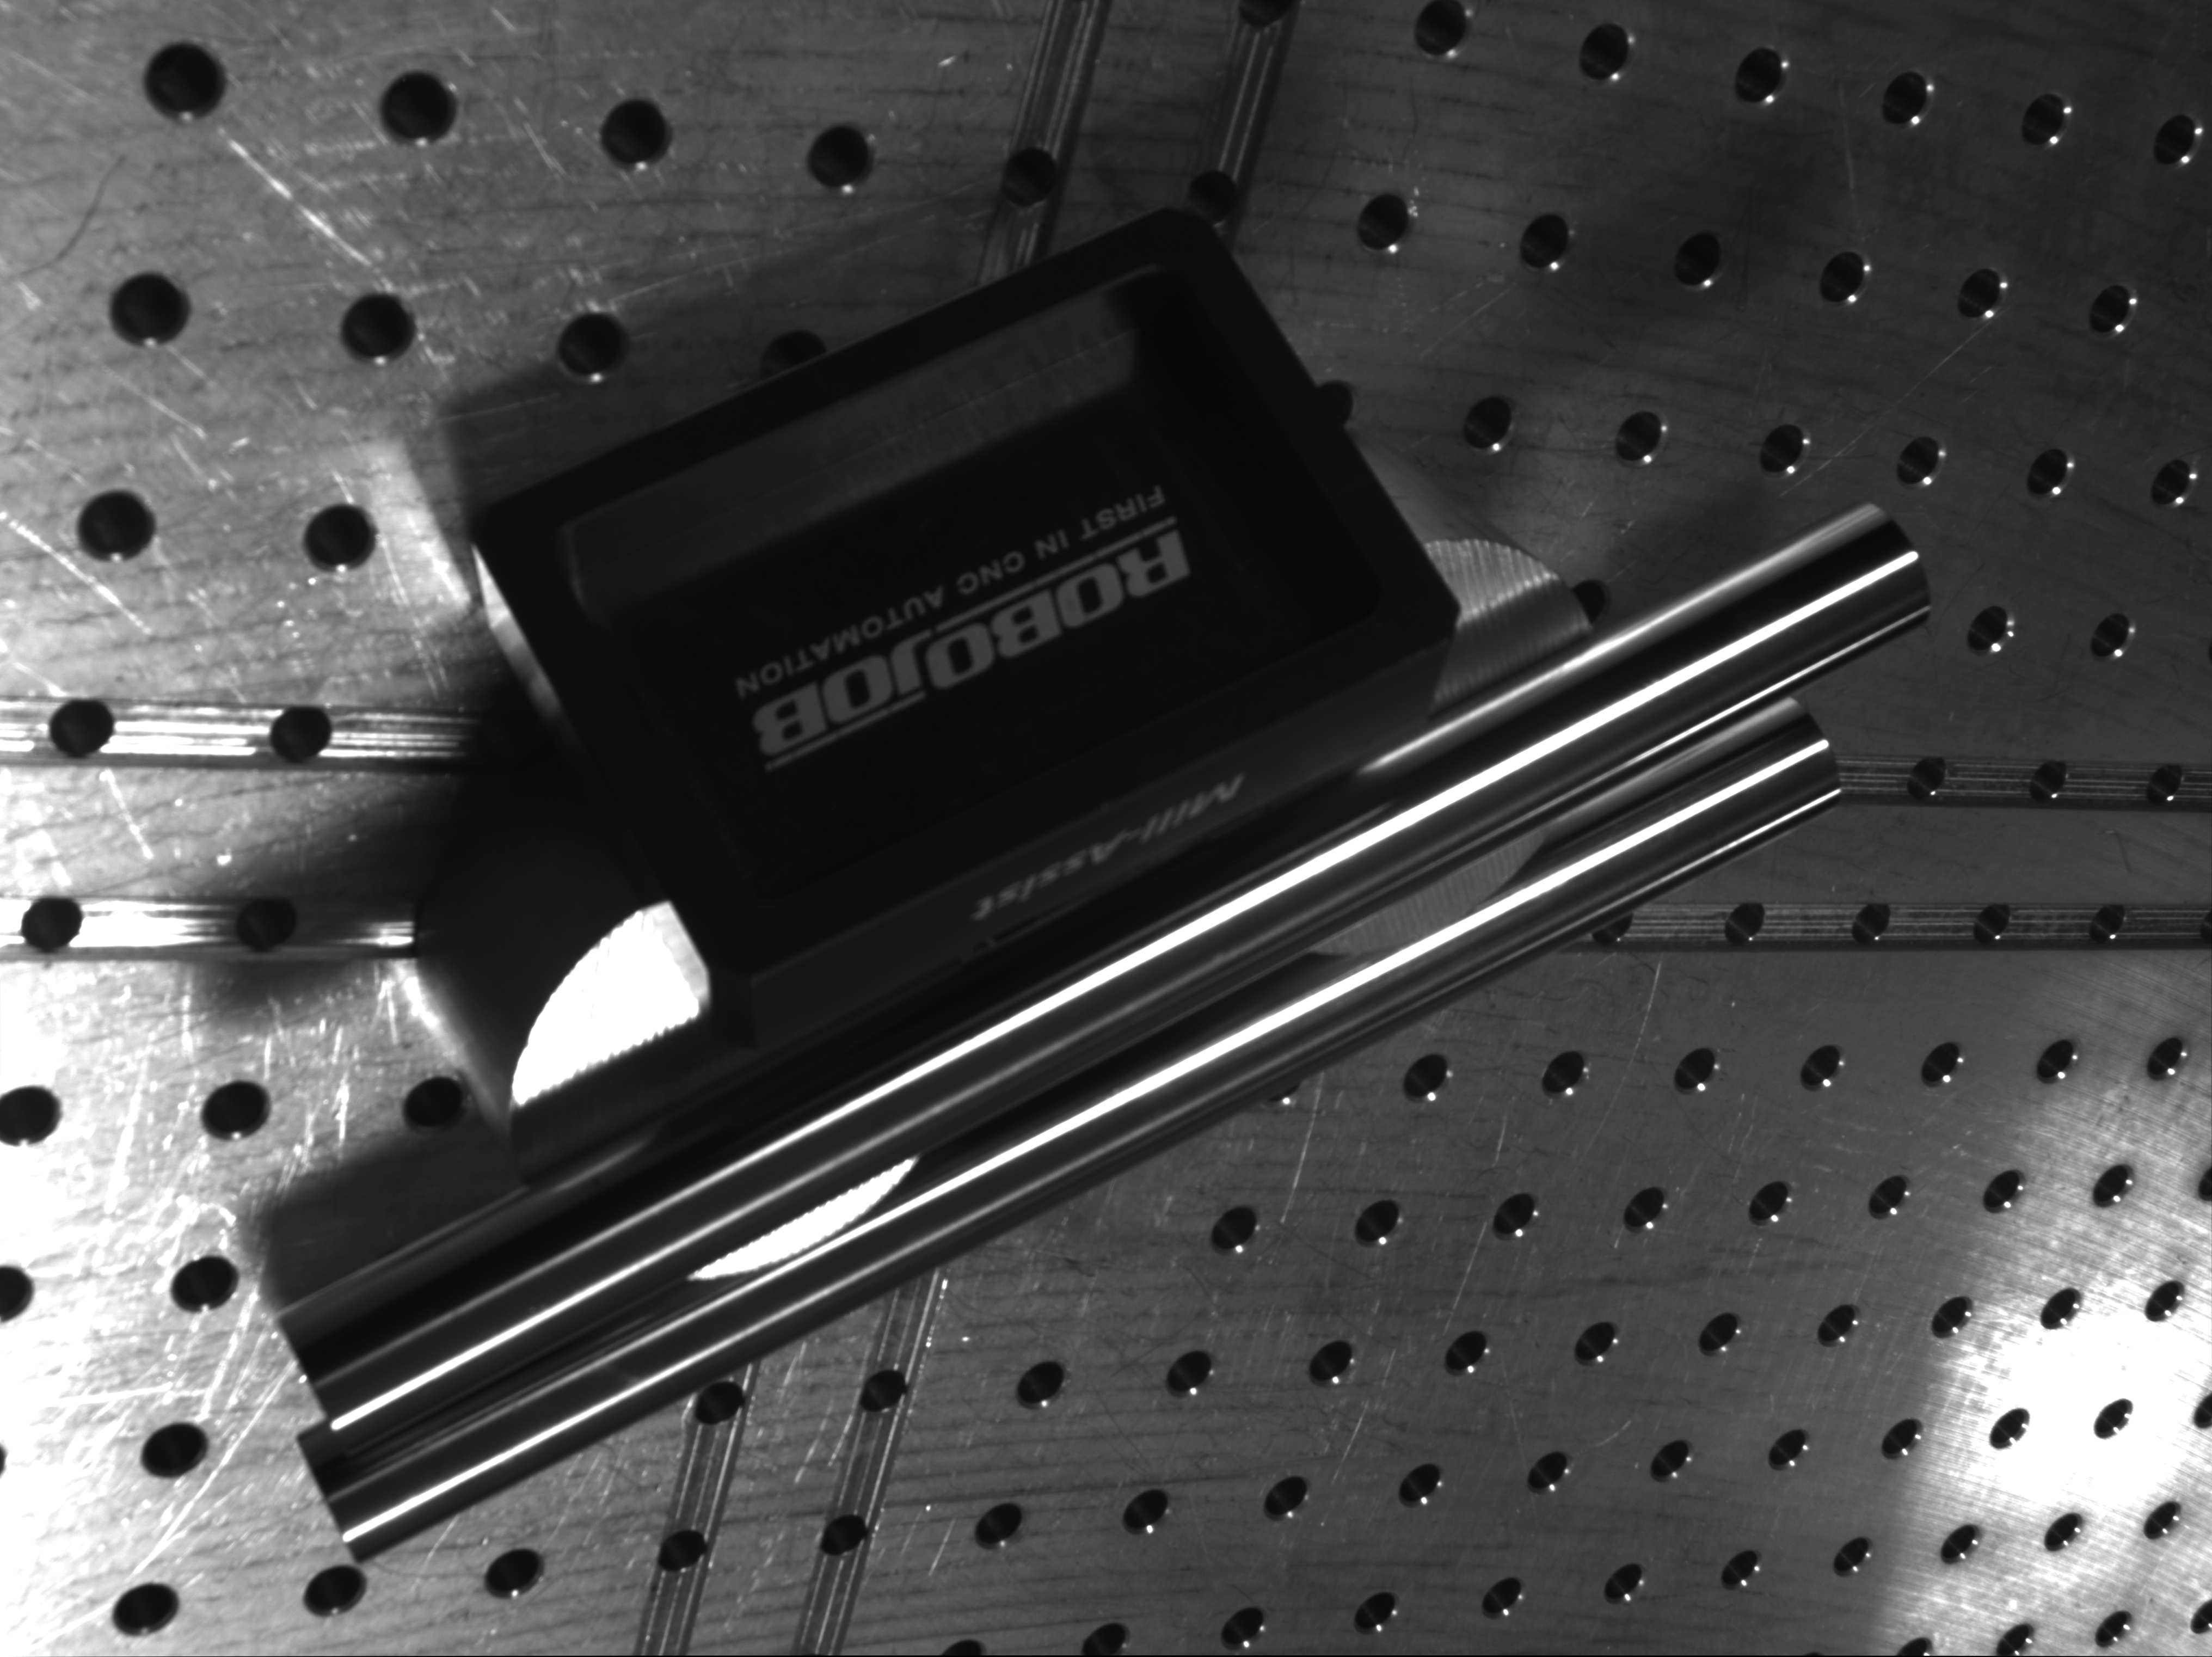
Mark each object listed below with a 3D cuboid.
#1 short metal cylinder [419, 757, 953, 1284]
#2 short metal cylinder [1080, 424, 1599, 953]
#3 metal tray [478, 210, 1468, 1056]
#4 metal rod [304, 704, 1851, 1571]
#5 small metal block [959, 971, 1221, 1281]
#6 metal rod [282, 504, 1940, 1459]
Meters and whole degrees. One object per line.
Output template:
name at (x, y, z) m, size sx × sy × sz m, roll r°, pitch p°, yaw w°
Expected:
short metal cylinder at (-0.069, 0.029, 0.615) m, size 0.080 × 0.050 × 0.080 m, roll -15°, pitch 125°, yaw -22°
short metal cylinder at (0.041, -0.025, 0.646) m, size 0.080 × 0.050 × 0.080 m, roll -15°, pitch 125°, yaw -22°
metal tray at (-0.021, -0.033, 0.577) m, size 0.130 × 0.090 × 0.030 m, roll -26°, pitch 160°, yaw -14°
metal rod at (0.002, 0.050, 0.651) m, size 0.300 × 0.025 × 0.025 m, roll -26°, pitch 128°, yaw -14°
small metal block at (-0.007, 0.053, 0.681) m, size 0.050 × 0.025 × 0.050 m, roll 16°, pitch 109°, yaw -36°
metal rod at (0.008, 0.021, 0.604) m, size 0.300 × 0.025 × 0.025 m, roll -27°, pitch 128°, yaw -14°
